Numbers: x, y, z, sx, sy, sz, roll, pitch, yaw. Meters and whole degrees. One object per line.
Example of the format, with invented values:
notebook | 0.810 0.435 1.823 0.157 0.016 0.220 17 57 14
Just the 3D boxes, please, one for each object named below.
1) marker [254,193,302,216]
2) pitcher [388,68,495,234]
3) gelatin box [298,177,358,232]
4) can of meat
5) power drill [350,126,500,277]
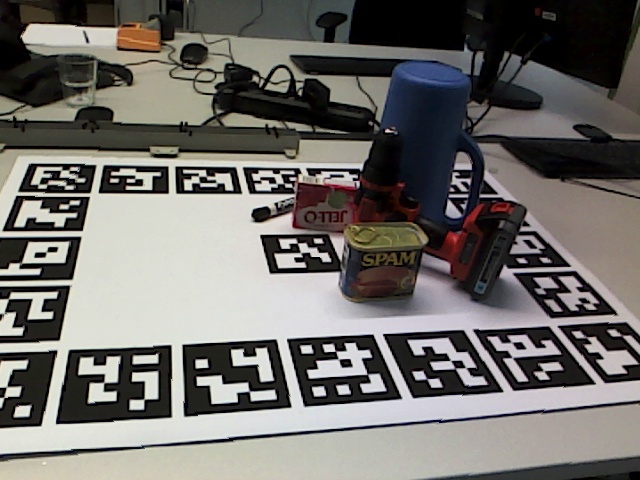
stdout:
marker | -0.050 -0.059 0.959 0.120 0.019 0.020 -18 40 -34
pitcher | 0.165 -0.118 0.906 0.190 0.242 0.133 12 35 19
gelatin box | 0.016 -0.050 0.913 0.089 0.073 0.030 7 36 -4
can of meat | 0.075 0.031 0.779 0.101 0.083 0.058 0 31 -13
power drill | 0.134 -0.043 0.822 0.188 0.184 0.057 24 37 14
